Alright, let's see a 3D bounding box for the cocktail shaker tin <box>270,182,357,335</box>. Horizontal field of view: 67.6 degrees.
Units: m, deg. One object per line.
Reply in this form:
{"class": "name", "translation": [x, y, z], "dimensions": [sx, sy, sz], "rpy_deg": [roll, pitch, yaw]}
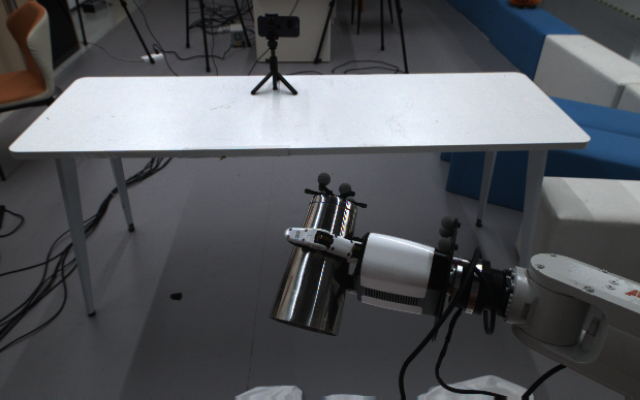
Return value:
{"class": "cocktail shaker tin", "translation": [0.000, 0.083, 0.639], "dimensions": [0.093, 0.093, 0.170], "rpy_deg": [11, 71, 12]}
